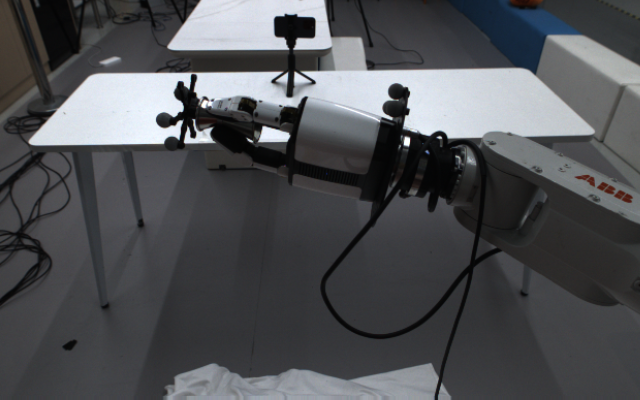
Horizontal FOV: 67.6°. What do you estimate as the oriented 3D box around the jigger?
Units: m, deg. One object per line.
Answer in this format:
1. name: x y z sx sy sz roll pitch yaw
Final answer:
1. jigger: -0.096 -0.096 0.555 0.071 0.043 0.043 10 35 3
